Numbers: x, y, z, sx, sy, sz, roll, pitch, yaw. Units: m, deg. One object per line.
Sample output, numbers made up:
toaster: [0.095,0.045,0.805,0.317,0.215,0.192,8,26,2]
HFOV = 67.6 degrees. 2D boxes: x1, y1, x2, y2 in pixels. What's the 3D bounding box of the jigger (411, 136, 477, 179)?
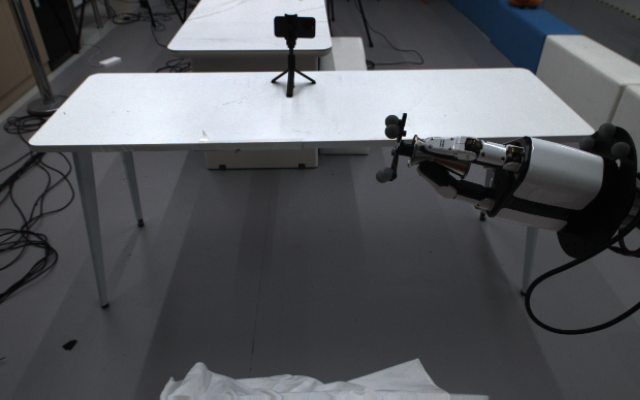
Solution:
jigger: [0.150,-0.056,0.584,0.071,0.043,0.043,11,35,2]
